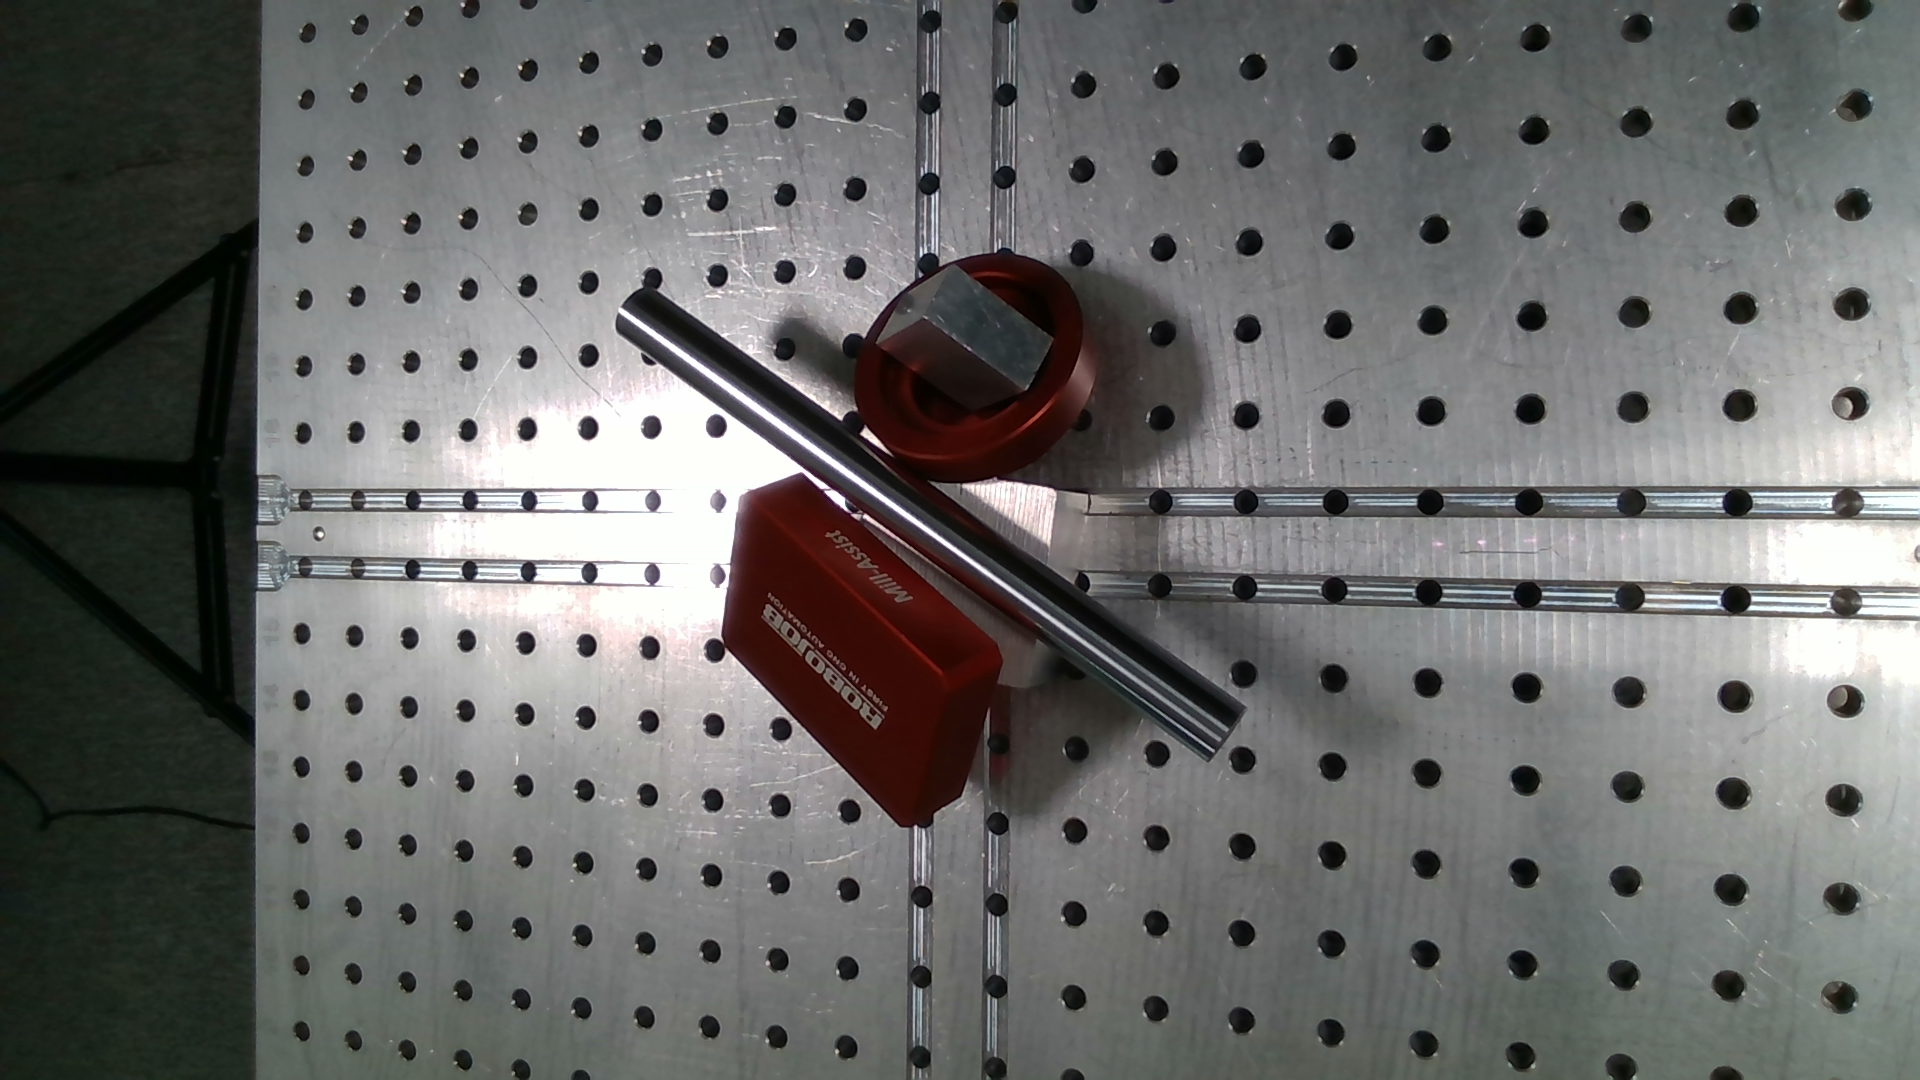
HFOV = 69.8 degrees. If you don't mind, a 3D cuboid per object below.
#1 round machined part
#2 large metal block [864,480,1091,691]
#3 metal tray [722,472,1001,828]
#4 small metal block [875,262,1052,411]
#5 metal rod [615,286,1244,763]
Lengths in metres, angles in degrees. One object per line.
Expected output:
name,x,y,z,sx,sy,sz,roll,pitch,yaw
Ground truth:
round machined part,0.008,-0.066,0.561,0.098,0.042,0.098,-10,62,19
large metal block,0.004,0.013,0.573,0.080,0.050,0.080,10,94,20
metal tray,-0.046,0.044,0.567,0.130,0.030,0.090,40,136,29
small metal block,0.000,-0.079,0.544,0.050,0.050,0.025,34,73,-19
metal rod,-0.020,-0.013,0.542,0.300,0.025,0.025,36,102,16
